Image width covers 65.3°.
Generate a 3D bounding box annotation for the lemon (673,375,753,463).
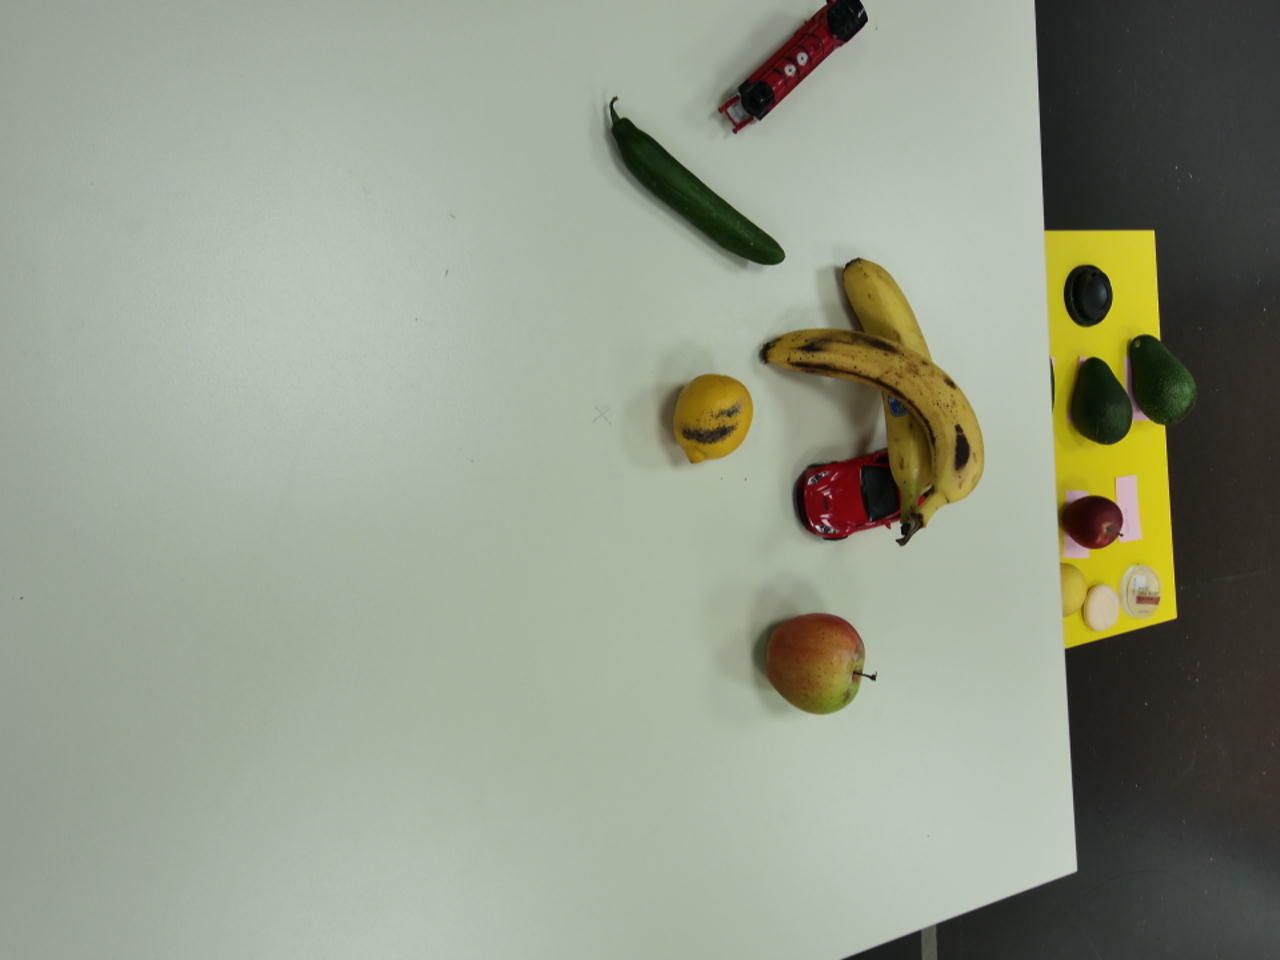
[{"bbox_3d":[0.052,-0.046,0.719,0.058,0.056,0.061,-14,97,-27],"label":"lemon"}]
